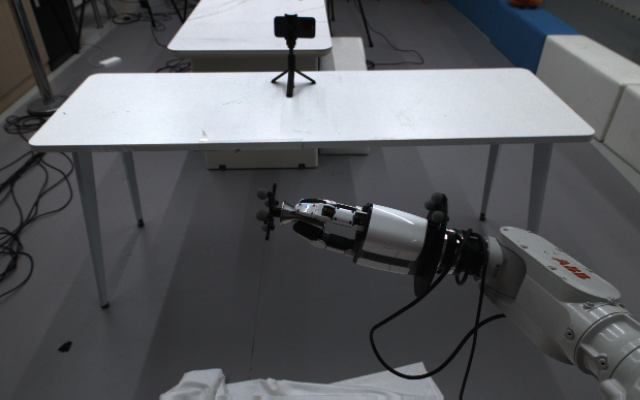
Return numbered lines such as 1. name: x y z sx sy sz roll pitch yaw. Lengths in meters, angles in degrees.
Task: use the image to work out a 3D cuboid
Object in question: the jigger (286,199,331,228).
1. jigger: -0.018 0.019 0.743 0.071 0.043 0.043 6 35 2
